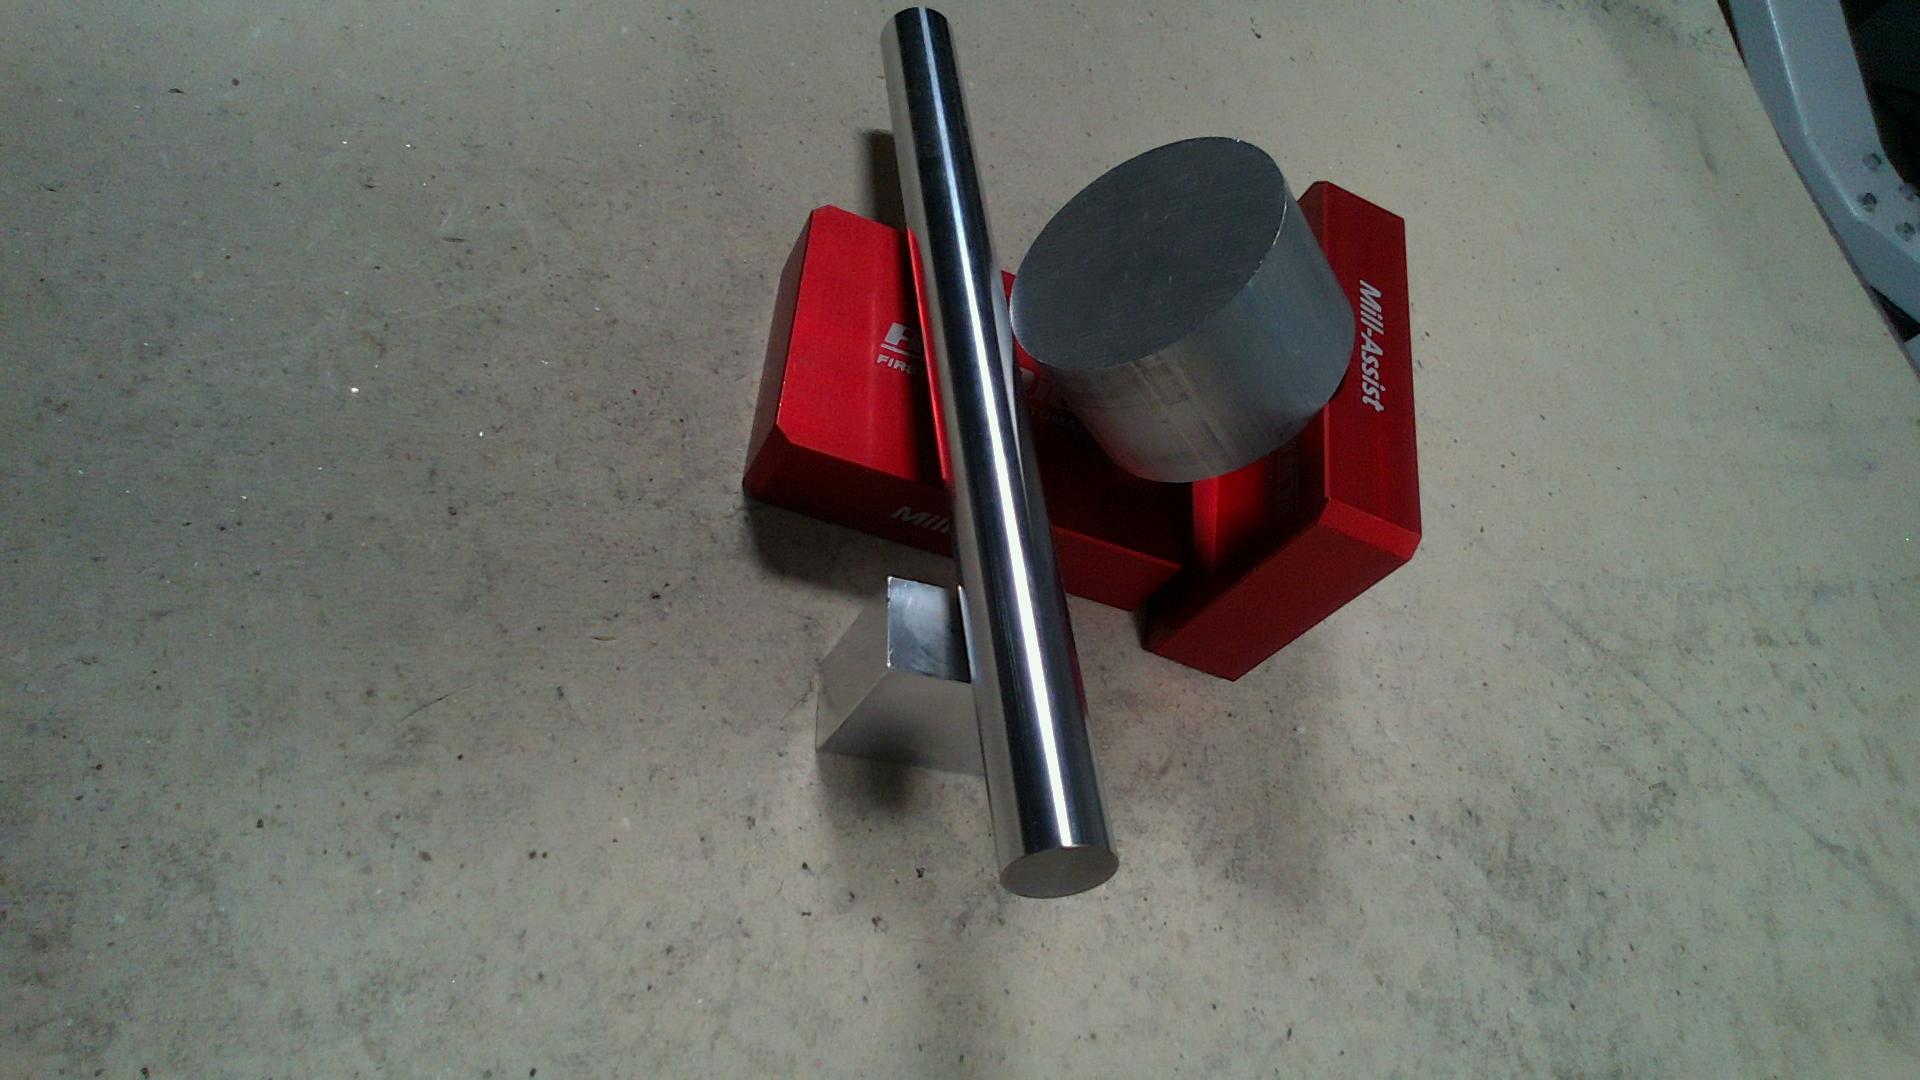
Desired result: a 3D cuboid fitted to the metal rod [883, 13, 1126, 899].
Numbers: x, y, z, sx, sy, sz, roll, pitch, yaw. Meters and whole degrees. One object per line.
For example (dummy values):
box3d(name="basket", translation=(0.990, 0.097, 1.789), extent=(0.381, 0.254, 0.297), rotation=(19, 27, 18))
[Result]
box3d(name="metal rod", translation=(0.004, -0.049, 0.372), extent=(0.025, 0.025, 0.300), rotation=(10, 48, -23))

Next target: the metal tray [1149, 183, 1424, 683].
box3d(name="metal tray", translation=(0.097, -0.033, 0.420), extent=(0.030, 0.090, 0.130), rotation=(21, 54, -16))

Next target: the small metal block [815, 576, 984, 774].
box3d(name="small metal block", translation=(-0.004, 0.036, 0.349), extent=(0.050, 0.050, 0.025), rotation=(12, 56, -22))

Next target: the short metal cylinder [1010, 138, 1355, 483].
box3d(name="short metal cylinder", translation=(0.061, -0.063, 0.378), extent=(0.050, 0.080, 0.080), rotation=(46, 42, -40))

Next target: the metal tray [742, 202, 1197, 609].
box3d(name="metal tray", translation=(0.007, -0.040, 0.414), extent=(0.130, 0.030, 0.090), rotation=(17, 55, -19))
